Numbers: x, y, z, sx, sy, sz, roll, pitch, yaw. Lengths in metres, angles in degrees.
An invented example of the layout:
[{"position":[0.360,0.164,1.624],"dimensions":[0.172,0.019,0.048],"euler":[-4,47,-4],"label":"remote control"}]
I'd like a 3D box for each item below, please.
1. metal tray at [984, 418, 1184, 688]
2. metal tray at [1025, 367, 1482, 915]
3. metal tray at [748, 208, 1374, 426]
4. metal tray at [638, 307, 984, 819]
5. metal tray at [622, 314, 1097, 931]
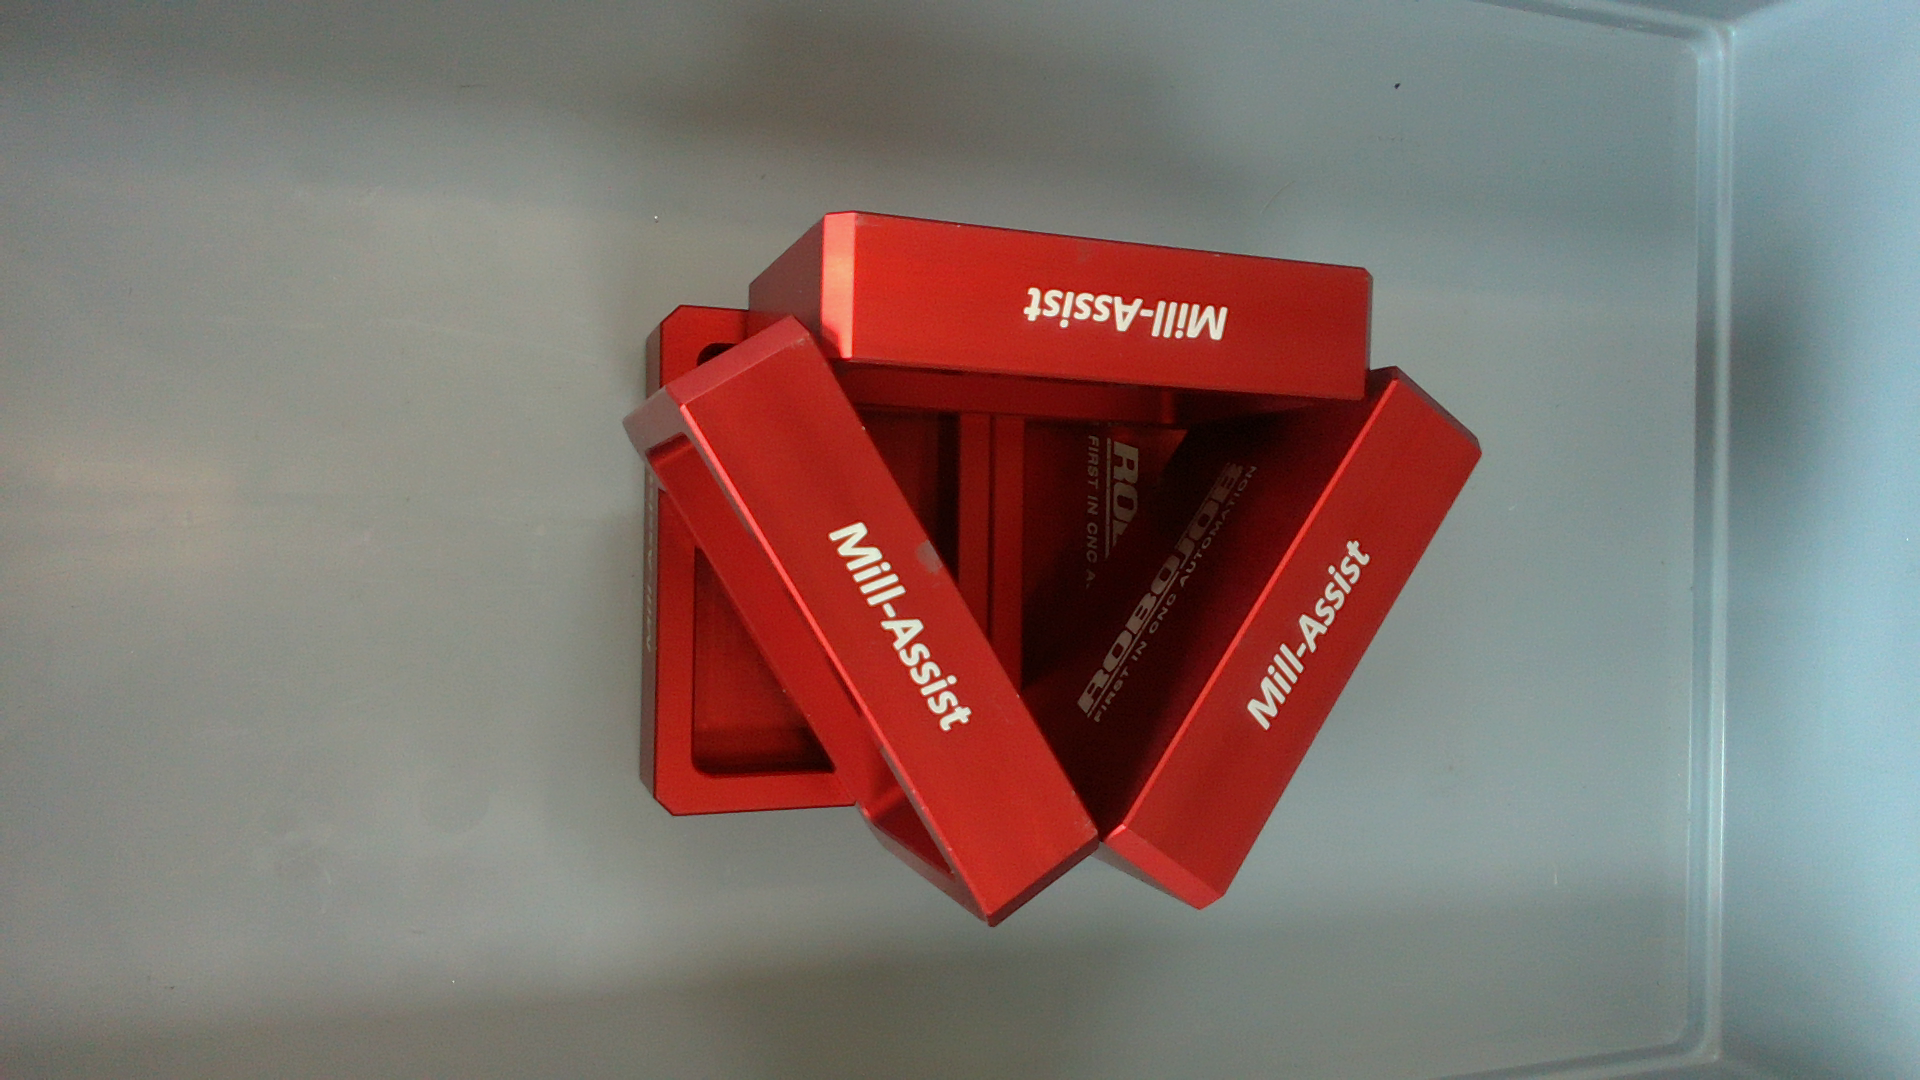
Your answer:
[{"position":[0.046,0.008,0.407],"dimensions":[0.090,0.030,0.130],"euler":[1,89,-20],"label":"metal tray"},{"position":[0.064,0.021,0.348],"dimensions":[0.030,0.090,0.130],"euler":[37,79,-16],"label":"metal tray"},{"position":[0.021,-0.049,0.332],"dimensions":[0.130,0.090,0.030],"euler":[2,90,-20],"label":"metal tray"},{"position":[-0.040,0.006,0.376],"dimensions":[0.090,0.030,0.130],"euler":[0,89,-20],"label":"metal tray"},{"position":[-0.027,0.018,0.316],"dimensions":[0.030,0.090,0.130],"euler":[-33,101,-16],"label":"metal tray"}]
